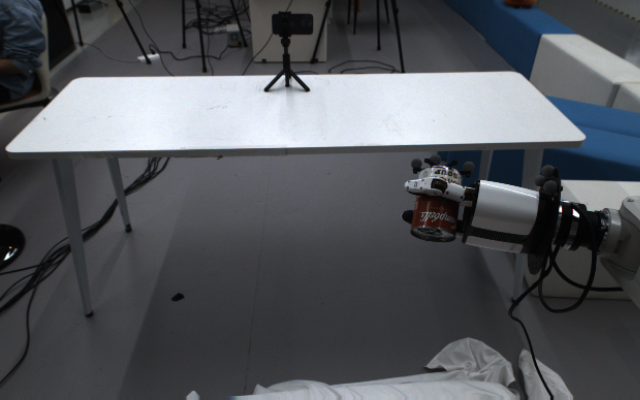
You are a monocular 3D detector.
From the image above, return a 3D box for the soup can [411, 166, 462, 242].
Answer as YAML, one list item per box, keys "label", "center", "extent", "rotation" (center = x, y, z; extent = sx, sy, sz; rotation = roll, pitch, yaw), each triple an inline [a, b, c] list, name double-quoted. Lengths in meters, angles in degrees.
- label: "soup can"
  center: [0.179, 0.005, 0.737]
  extent: [0.067, 0.067, 0.101]
  rotation: [9, 70, 10]
